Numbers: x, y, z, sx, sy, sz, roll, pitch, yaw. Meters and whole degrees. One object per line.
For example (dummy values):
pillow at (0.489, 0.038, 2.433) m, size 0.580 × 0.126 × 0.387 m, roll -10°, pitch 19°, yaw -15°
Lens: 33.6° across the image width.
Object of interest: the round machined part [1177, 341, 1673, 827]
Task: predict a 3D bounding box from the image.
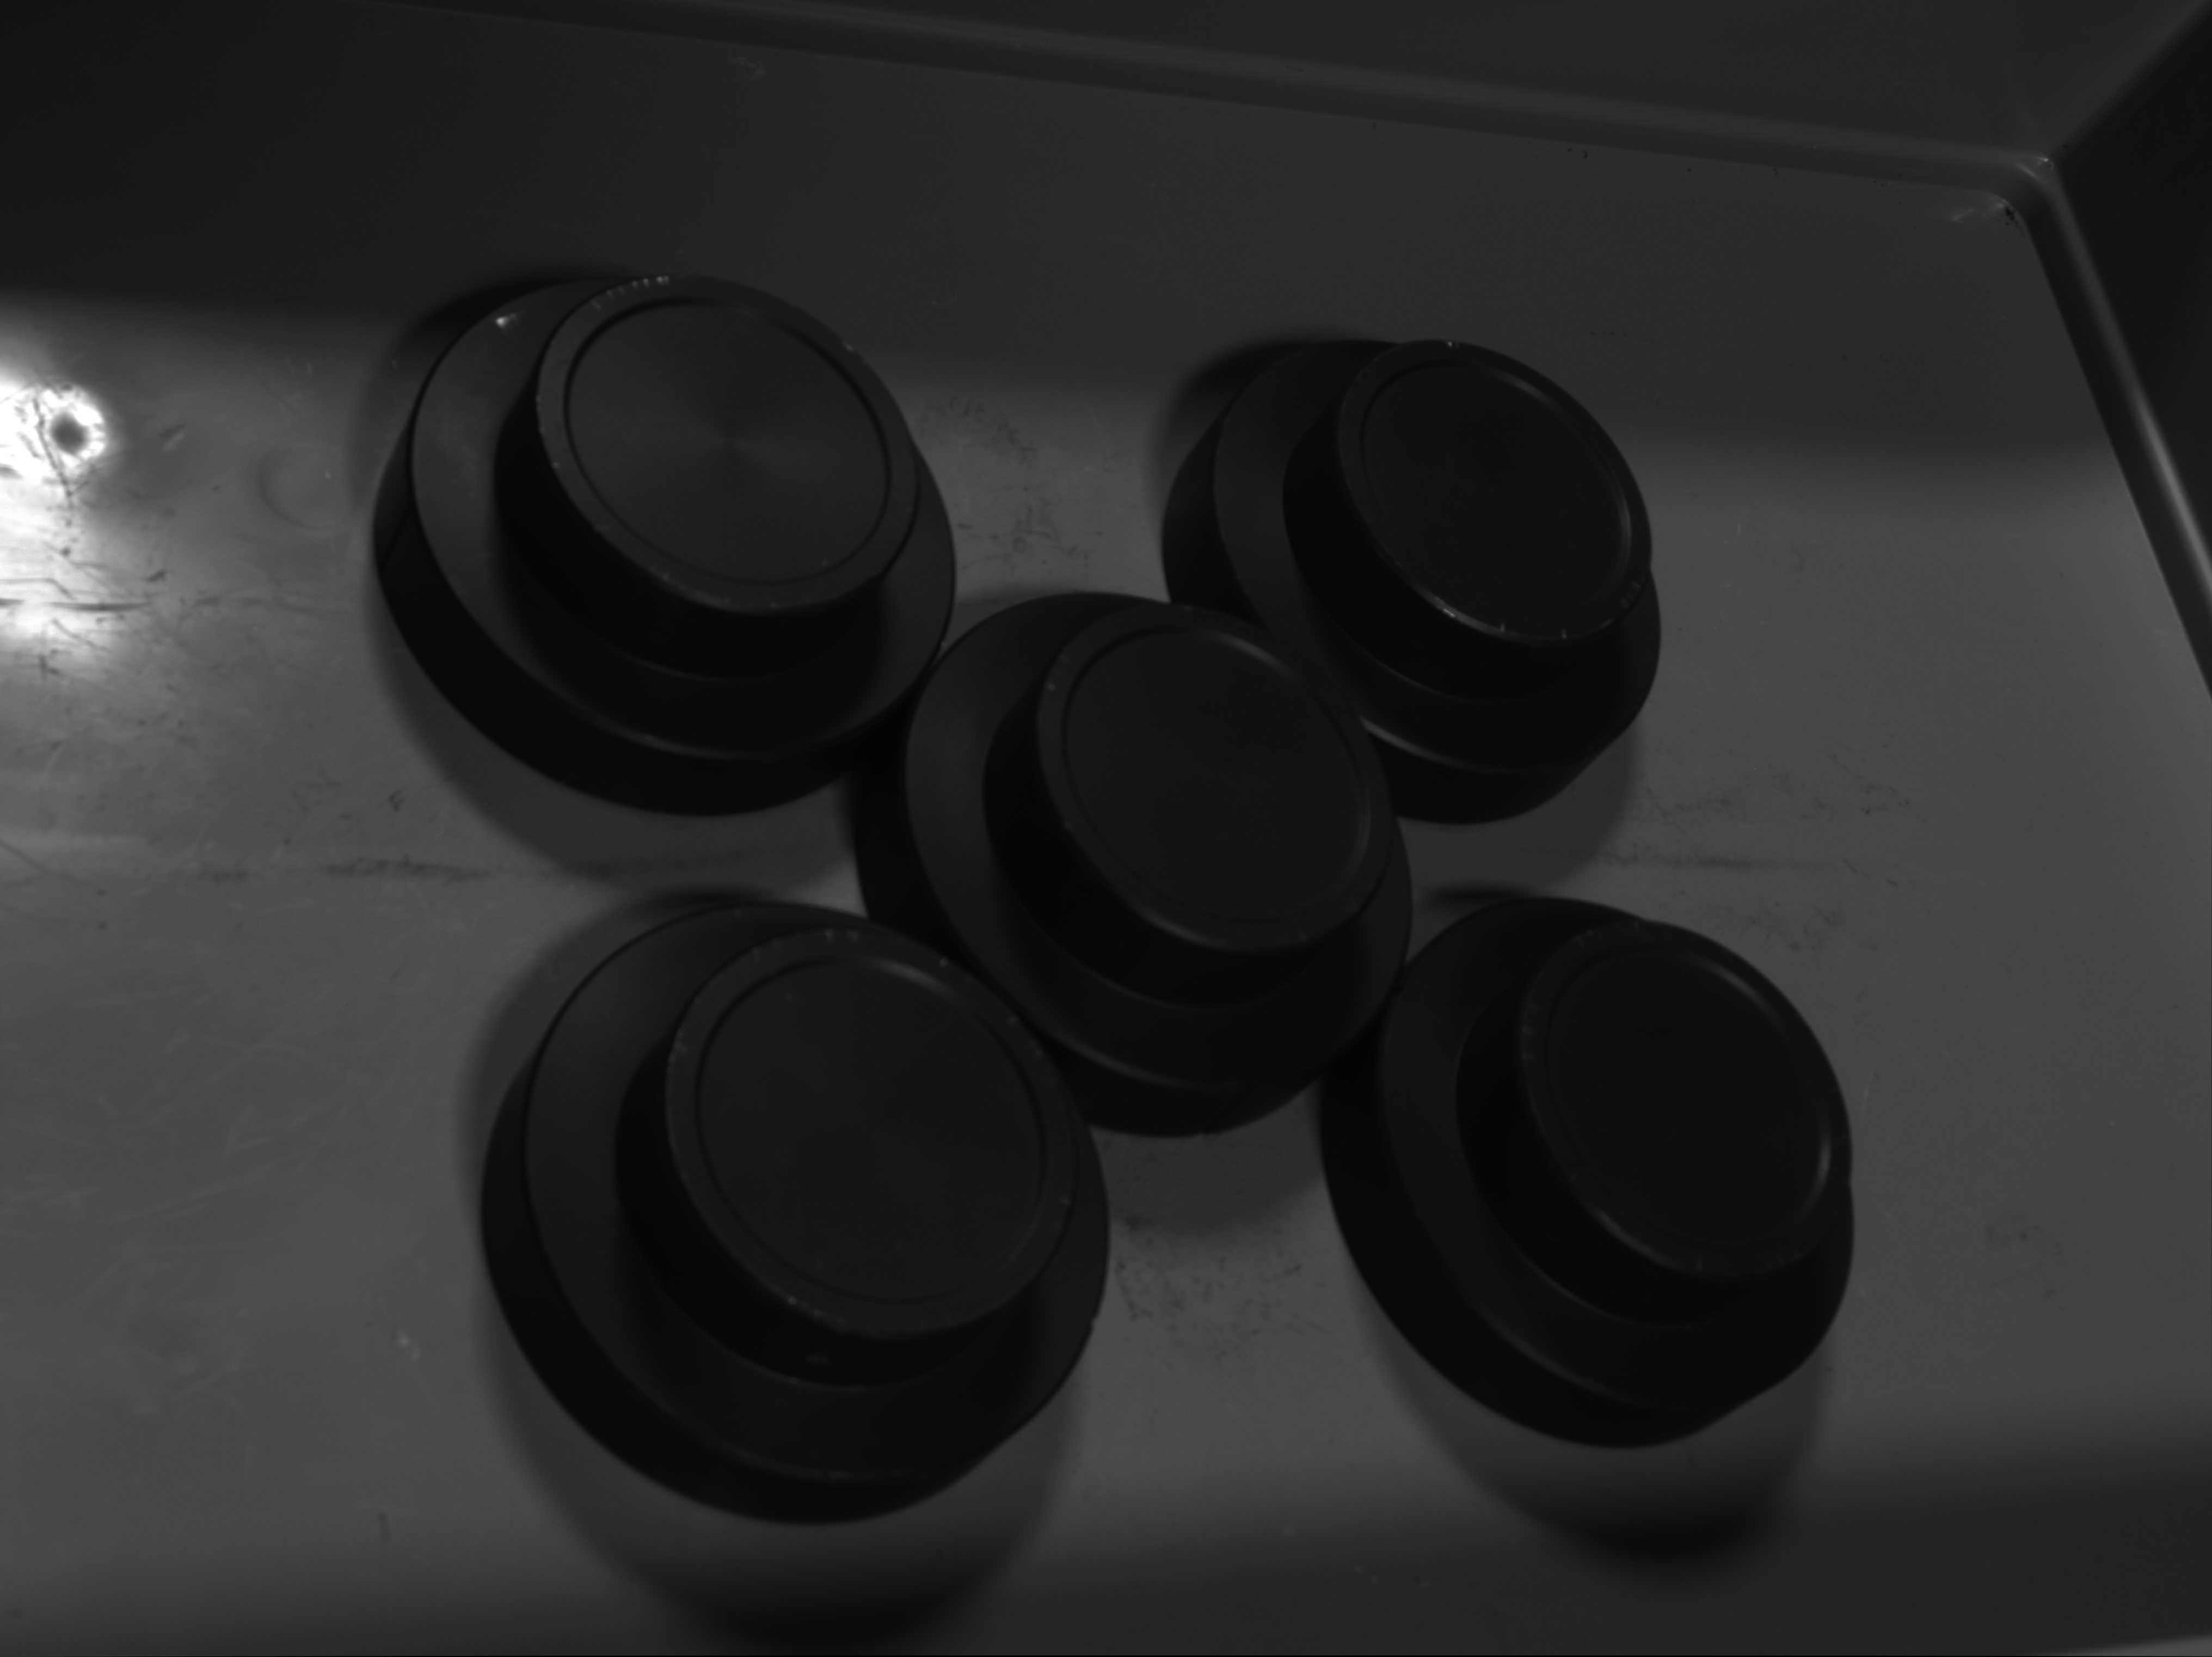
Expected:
round machined part at (0.066, -0.053, 0.696) m, size 0.098 × 0.042 × 0.098 m, roll 14°, pitch 56°, yaw -21°

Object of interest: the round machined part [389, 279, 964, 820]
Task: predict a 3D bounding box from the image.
round machined part at (-0.069, -0.054, 0.624) m, size 0.098 × 0.042 × 0.098 m, roll 14°, pitch 56°, yaw -21°

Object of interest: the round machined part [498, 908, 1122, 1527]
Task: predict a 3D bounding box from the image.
round machined part at (-0.042, 0.055, 0.572) m, size 0.098 × 0.042 × 0.098 m, roll 14°, pitch 56°, yaw -21°

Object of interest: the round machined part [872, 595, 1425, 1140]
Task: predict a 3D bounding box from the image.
round machined part at (0.013, 0.001, 0.633) m, size 0.098 × 0.042 × 0.098 m, roll 14°, pitch 56°, yaw -21°

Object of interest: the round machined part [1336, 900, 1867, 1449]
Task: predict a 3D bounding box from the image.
round machined part at (0.093, 0.056, 0.644) m, size 0.098 × 0.042 × 0.098 m, roll 14°, pitch 56°, yaw -21°
